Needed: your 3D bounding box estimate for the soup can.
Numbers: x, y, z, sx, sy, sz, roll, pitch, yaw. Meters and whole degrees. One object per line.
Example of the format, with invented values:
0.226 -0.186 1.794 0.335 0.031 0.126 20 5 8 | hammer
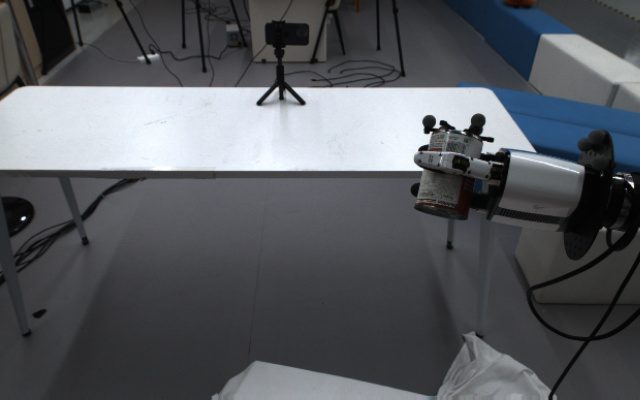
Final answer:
0.166 -0.033 0.619 0.067 0.101 0.067 13 -7 2 | soup can
